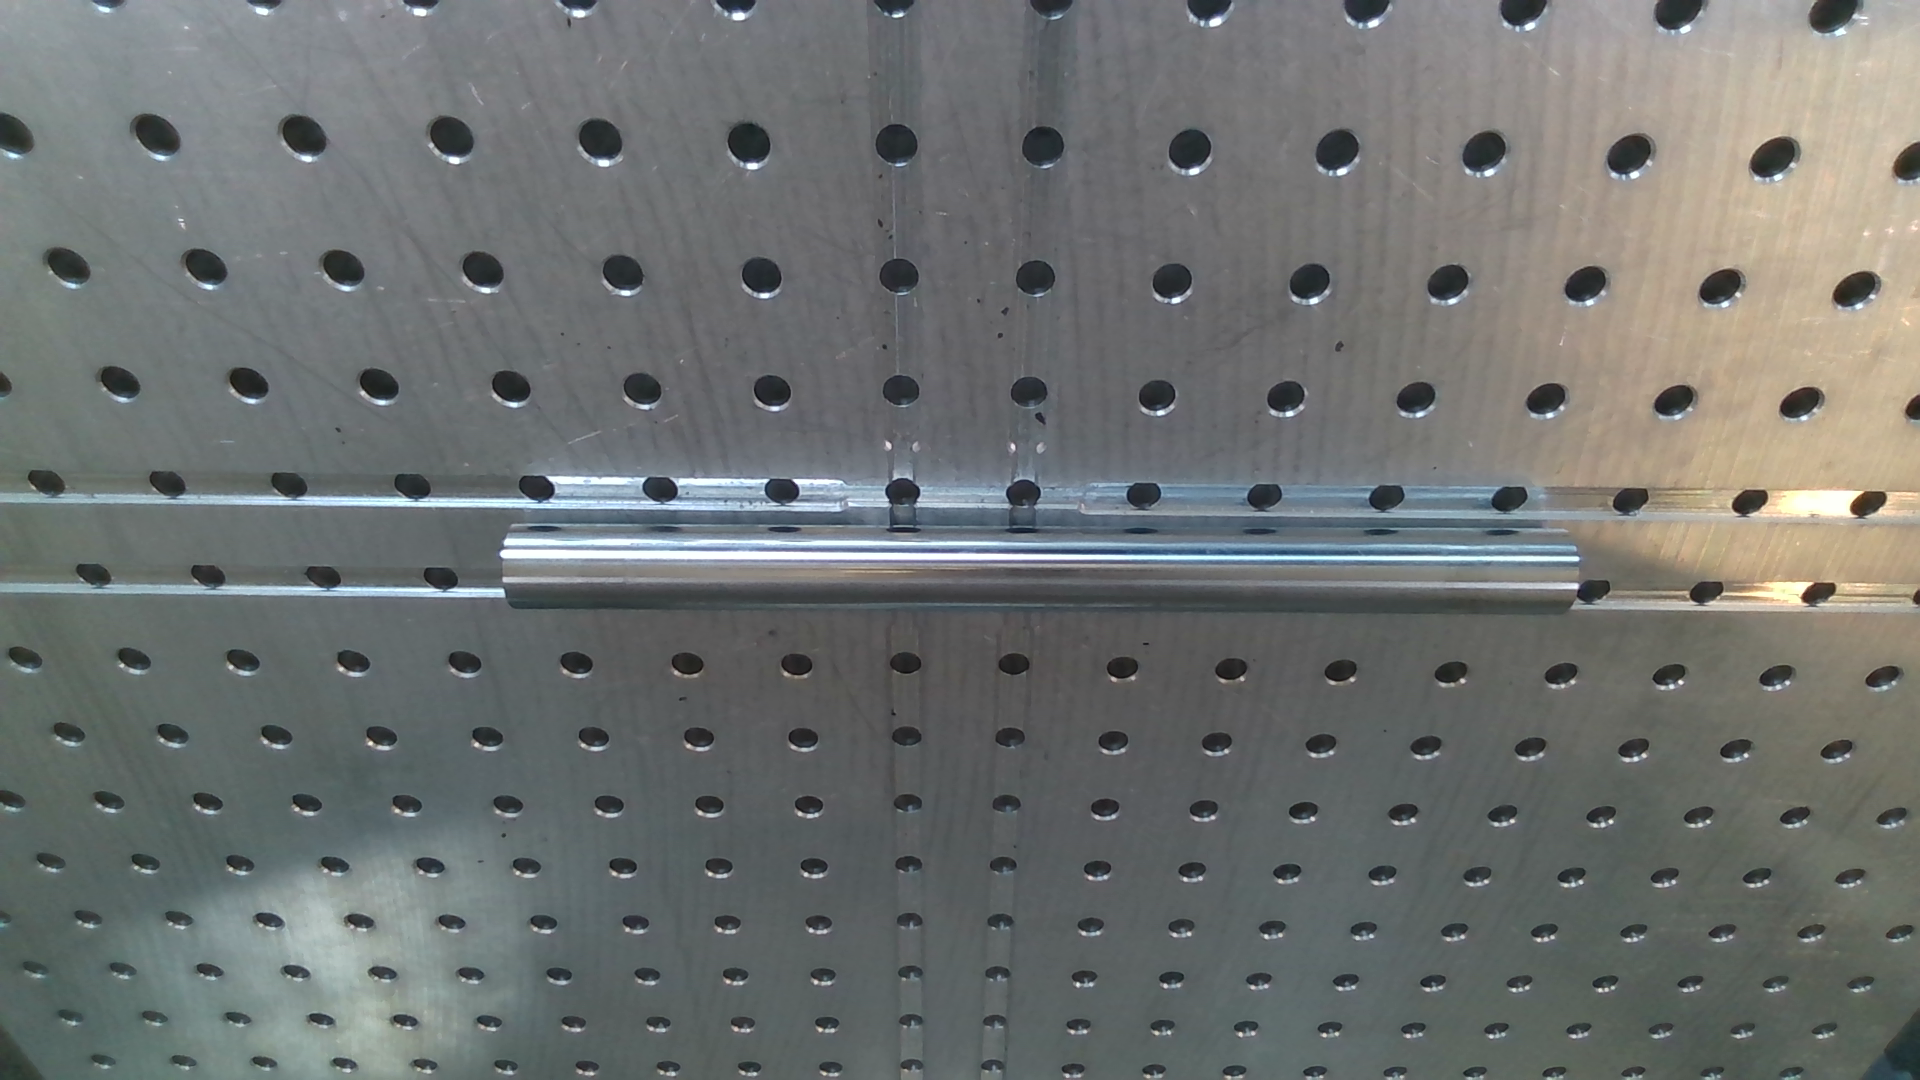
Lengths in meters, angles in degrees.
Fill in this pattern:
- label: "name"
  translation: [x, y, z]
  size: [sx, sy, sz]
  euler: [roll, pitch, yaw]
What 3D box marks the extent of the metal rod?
- label: "metal rod"
  translation: [0.022, 0.007, 0.397]
  size: [0.300, 0.025, 0.025]
  euler: [0, 130, 0]
